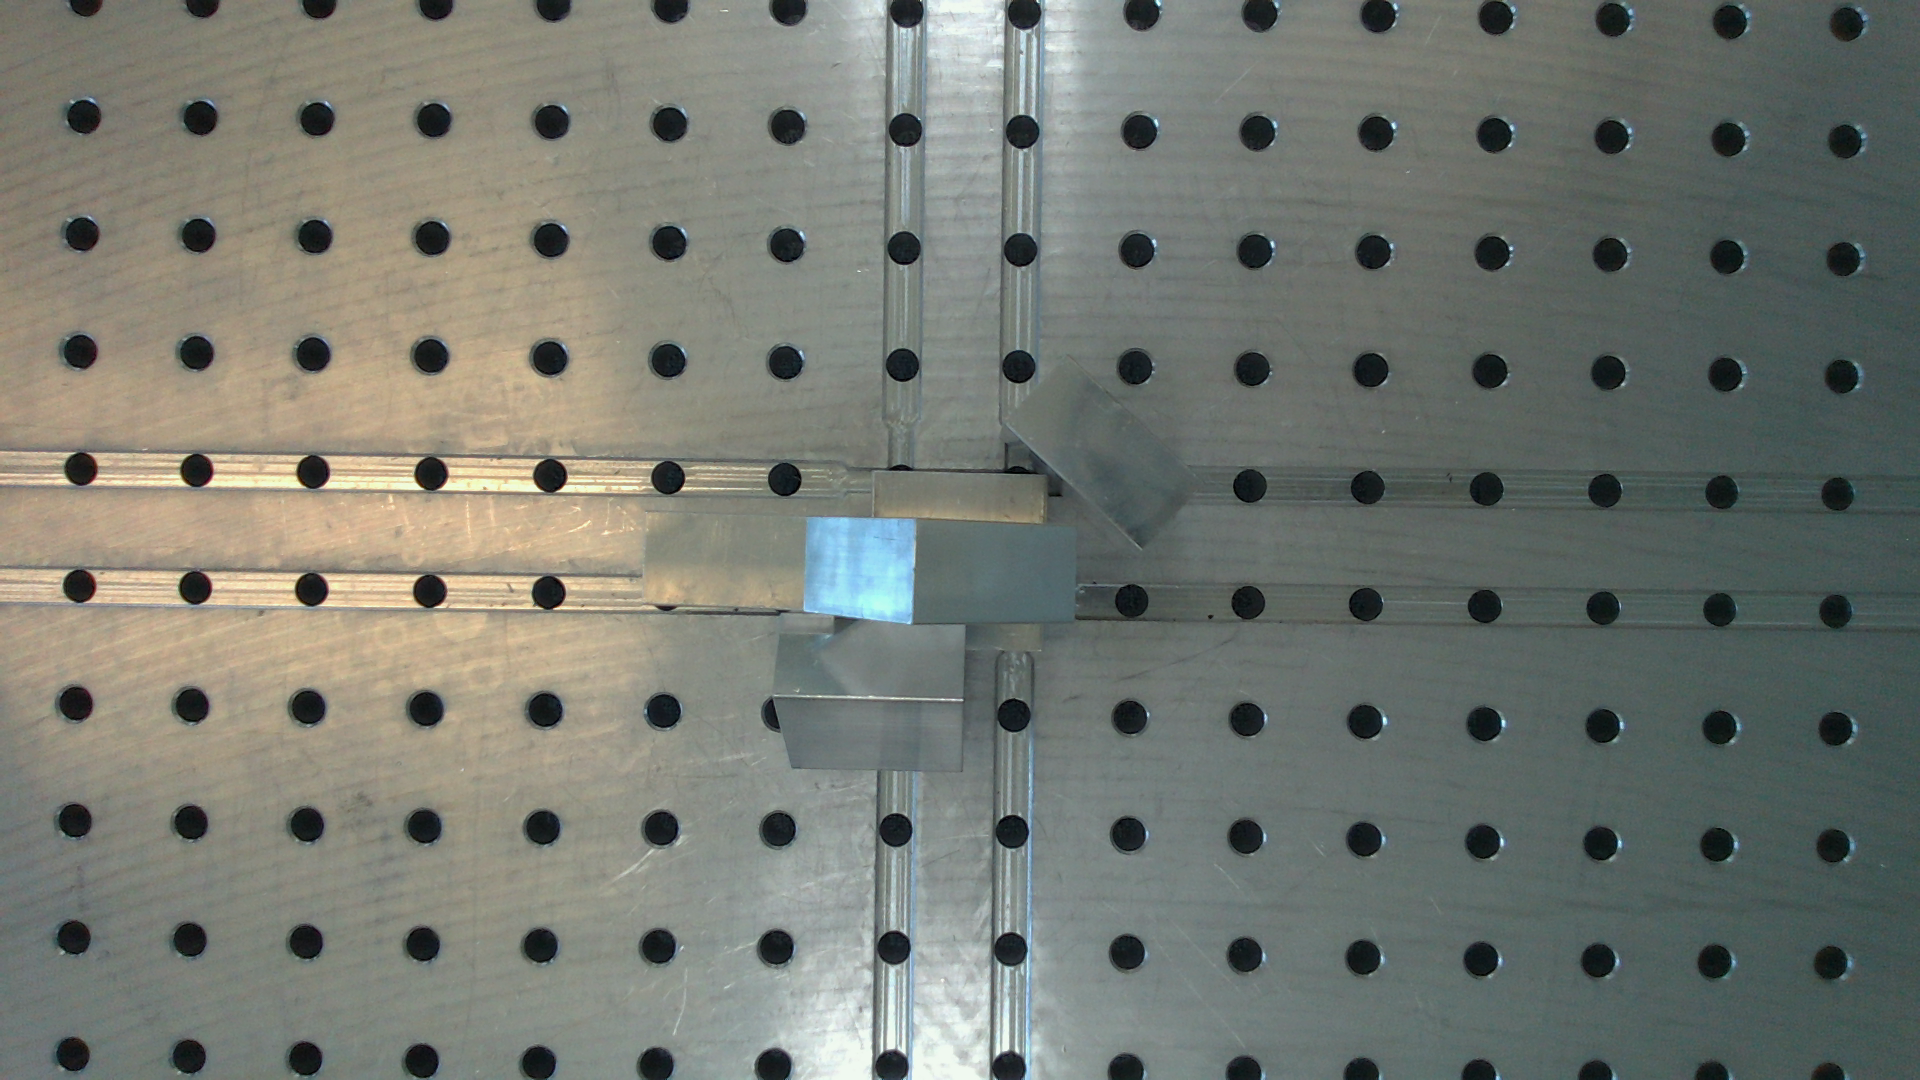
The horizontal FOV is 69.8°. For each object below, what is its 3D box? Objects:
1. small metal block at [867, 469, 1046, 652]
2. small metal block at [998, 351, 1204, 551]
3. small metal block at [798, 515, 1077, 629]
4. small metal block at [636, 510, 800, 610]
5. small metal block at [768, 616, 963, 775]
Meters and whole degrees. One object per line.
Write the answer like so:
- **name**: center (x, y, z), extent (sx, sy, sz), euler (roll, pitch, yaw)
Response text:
- **small metal block**: center (-0.001, 0.006, 0.397), extent (0.050, 0.025, 0.050), euler (2, 90, -1)
- **small metal block**: center (0.037, -0.023, 0.385), extent (0.050, 0.050, 0.025), euler (43, 90, 0)
- **small metal block**: center (-0.006, 0.008, 0.350), extent (0.050, 0.050, 0.025), euler (2, 91, -37)
- **small metal block**: center (-0.059, 0.005, 0.384), extent (0.050, 0.050, 0.025), euler (2, 91, 1)
- **small metal block**: center (-0.024, 0.044, 0.383), extent (0.050, 0.050, 0.025), euler (1, 58, 0)
